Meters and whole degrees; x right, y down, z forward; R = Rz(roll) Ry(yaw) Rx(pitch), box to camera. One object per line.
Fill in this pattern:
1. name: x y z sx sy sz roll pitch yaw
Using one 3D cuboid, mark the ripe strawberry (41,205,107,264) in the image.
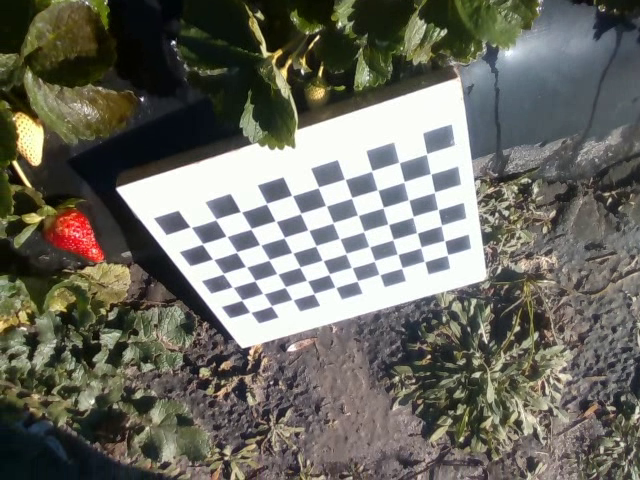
1. ripe strawberry: -0.213 0.000 0.548 0.048 0.040 0.068 -29 -51 22
